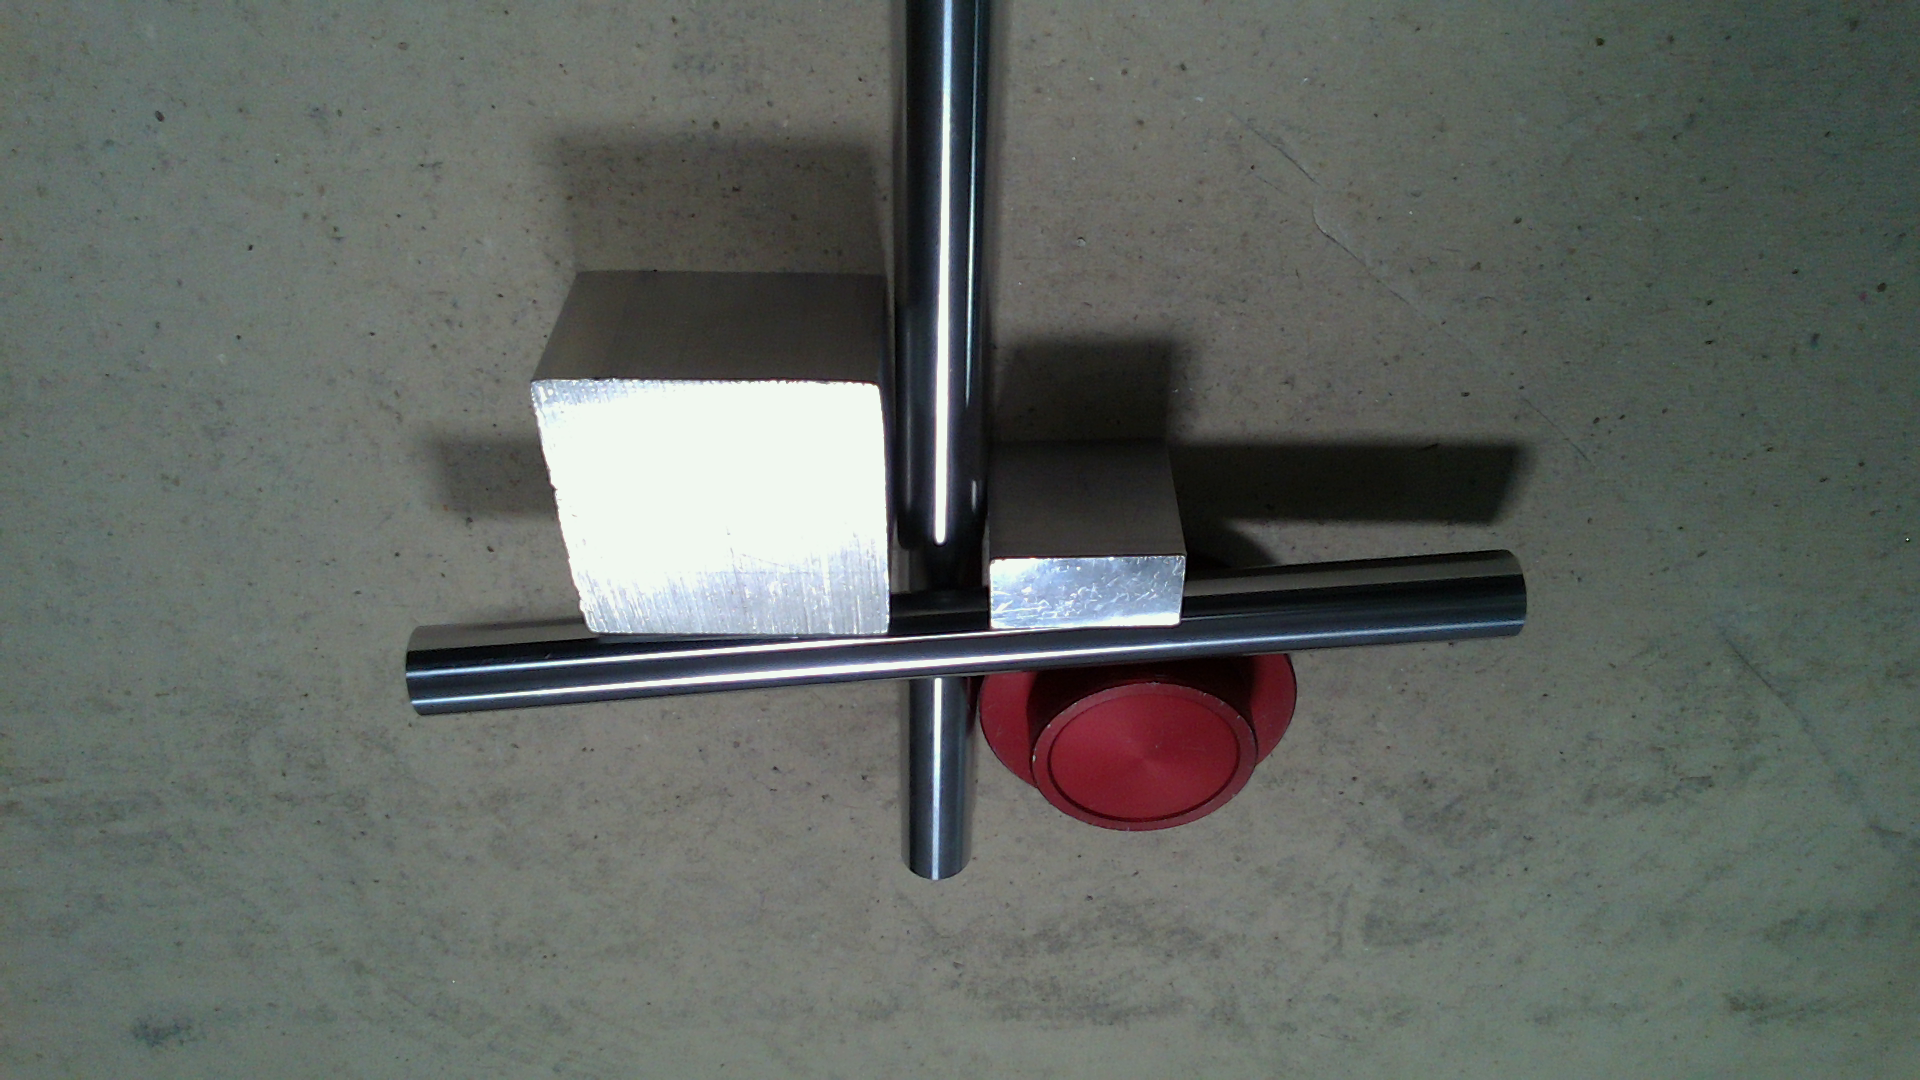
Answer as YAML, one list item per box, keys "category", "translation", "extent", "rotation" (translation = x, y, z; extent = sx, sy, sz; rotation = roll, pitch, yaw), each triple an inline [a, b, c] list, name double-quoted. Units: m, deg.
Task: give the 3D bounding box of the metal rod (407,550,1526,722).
- category: "metal rod"
  translation: [0.003, 0.026, 0.380]
  extent: [0.300, 0.025, 0.025]
  rotation: [-4, 130, -2]

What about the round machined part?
- category: "round machined part"
  translation: [0.055, 0.053, 0.423]
  extent: [0.098, 0.042, 0.098]
  rotation: [0, 130, 0]

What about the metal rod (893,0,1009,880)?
- category: "metal rod"
  translation: [-0.005, -0.005, 0.386]
  extent: [0.025, 0.025, 0.300]
  rotation: [1, 130, -1]

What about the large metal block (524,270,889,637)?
- category: "large metal block"
  translation: [-0.059, -0.021, 0.355]
  extent: [0.080, 0.050, 0.080]
  rotation: [0, 130, -1]

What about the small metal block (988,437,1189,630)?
- category: "small metal block"
  translation: [0.033, -0.003, 0.373]
  extent: [0.050, 0.050, 0.025]
  rotation: [-1, 130, 1]
